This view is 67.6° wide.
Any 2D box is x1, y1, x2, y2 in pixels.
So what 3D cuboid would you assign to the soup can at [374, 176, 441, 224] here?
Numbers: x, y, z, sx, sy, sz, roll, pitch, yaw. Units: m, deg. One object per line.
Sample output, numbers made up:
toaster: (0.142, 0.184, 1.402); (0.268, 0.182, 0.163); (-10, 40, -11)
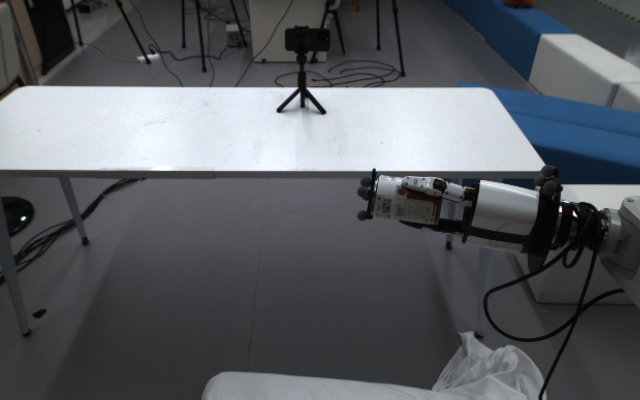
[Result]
soup can: (0.136, -0.001, 0.750); (0.101, 0.067, 0.067); (8, 35, 9)
